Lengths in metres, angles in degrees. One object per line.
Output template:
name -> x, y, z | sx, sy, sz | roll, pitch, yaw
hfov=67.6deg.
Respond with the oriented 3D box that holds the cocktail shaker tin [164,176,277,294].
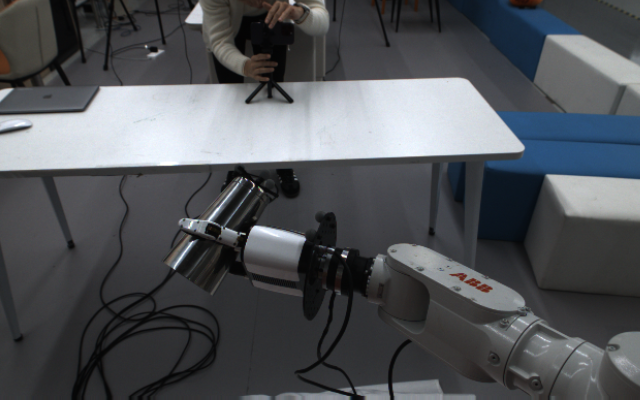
cocktail shaker tin -> -0.152, 0.047, 0.741 | 0.093, 0.093, 0.170 | 24, 69, 28
